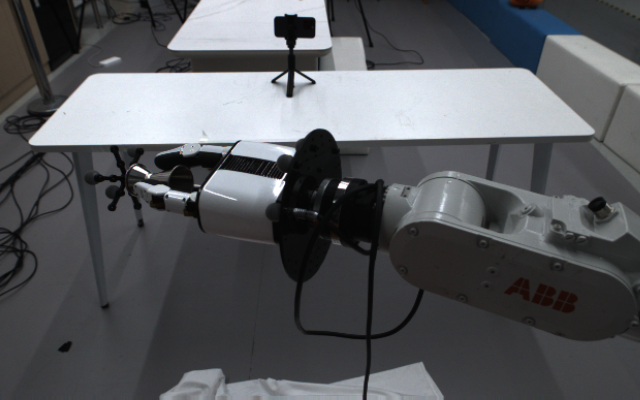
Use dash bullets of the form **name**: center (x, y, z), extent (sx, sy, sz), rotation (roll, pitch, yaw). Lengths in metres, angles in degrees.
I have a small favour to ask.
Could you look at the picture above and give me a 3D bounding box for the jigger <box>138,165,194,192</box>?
- **jigger**: center (-0.182, -0.027, 0.573), extent (0.071, 0.043, 0.043), rotation (4, 33, 24)
